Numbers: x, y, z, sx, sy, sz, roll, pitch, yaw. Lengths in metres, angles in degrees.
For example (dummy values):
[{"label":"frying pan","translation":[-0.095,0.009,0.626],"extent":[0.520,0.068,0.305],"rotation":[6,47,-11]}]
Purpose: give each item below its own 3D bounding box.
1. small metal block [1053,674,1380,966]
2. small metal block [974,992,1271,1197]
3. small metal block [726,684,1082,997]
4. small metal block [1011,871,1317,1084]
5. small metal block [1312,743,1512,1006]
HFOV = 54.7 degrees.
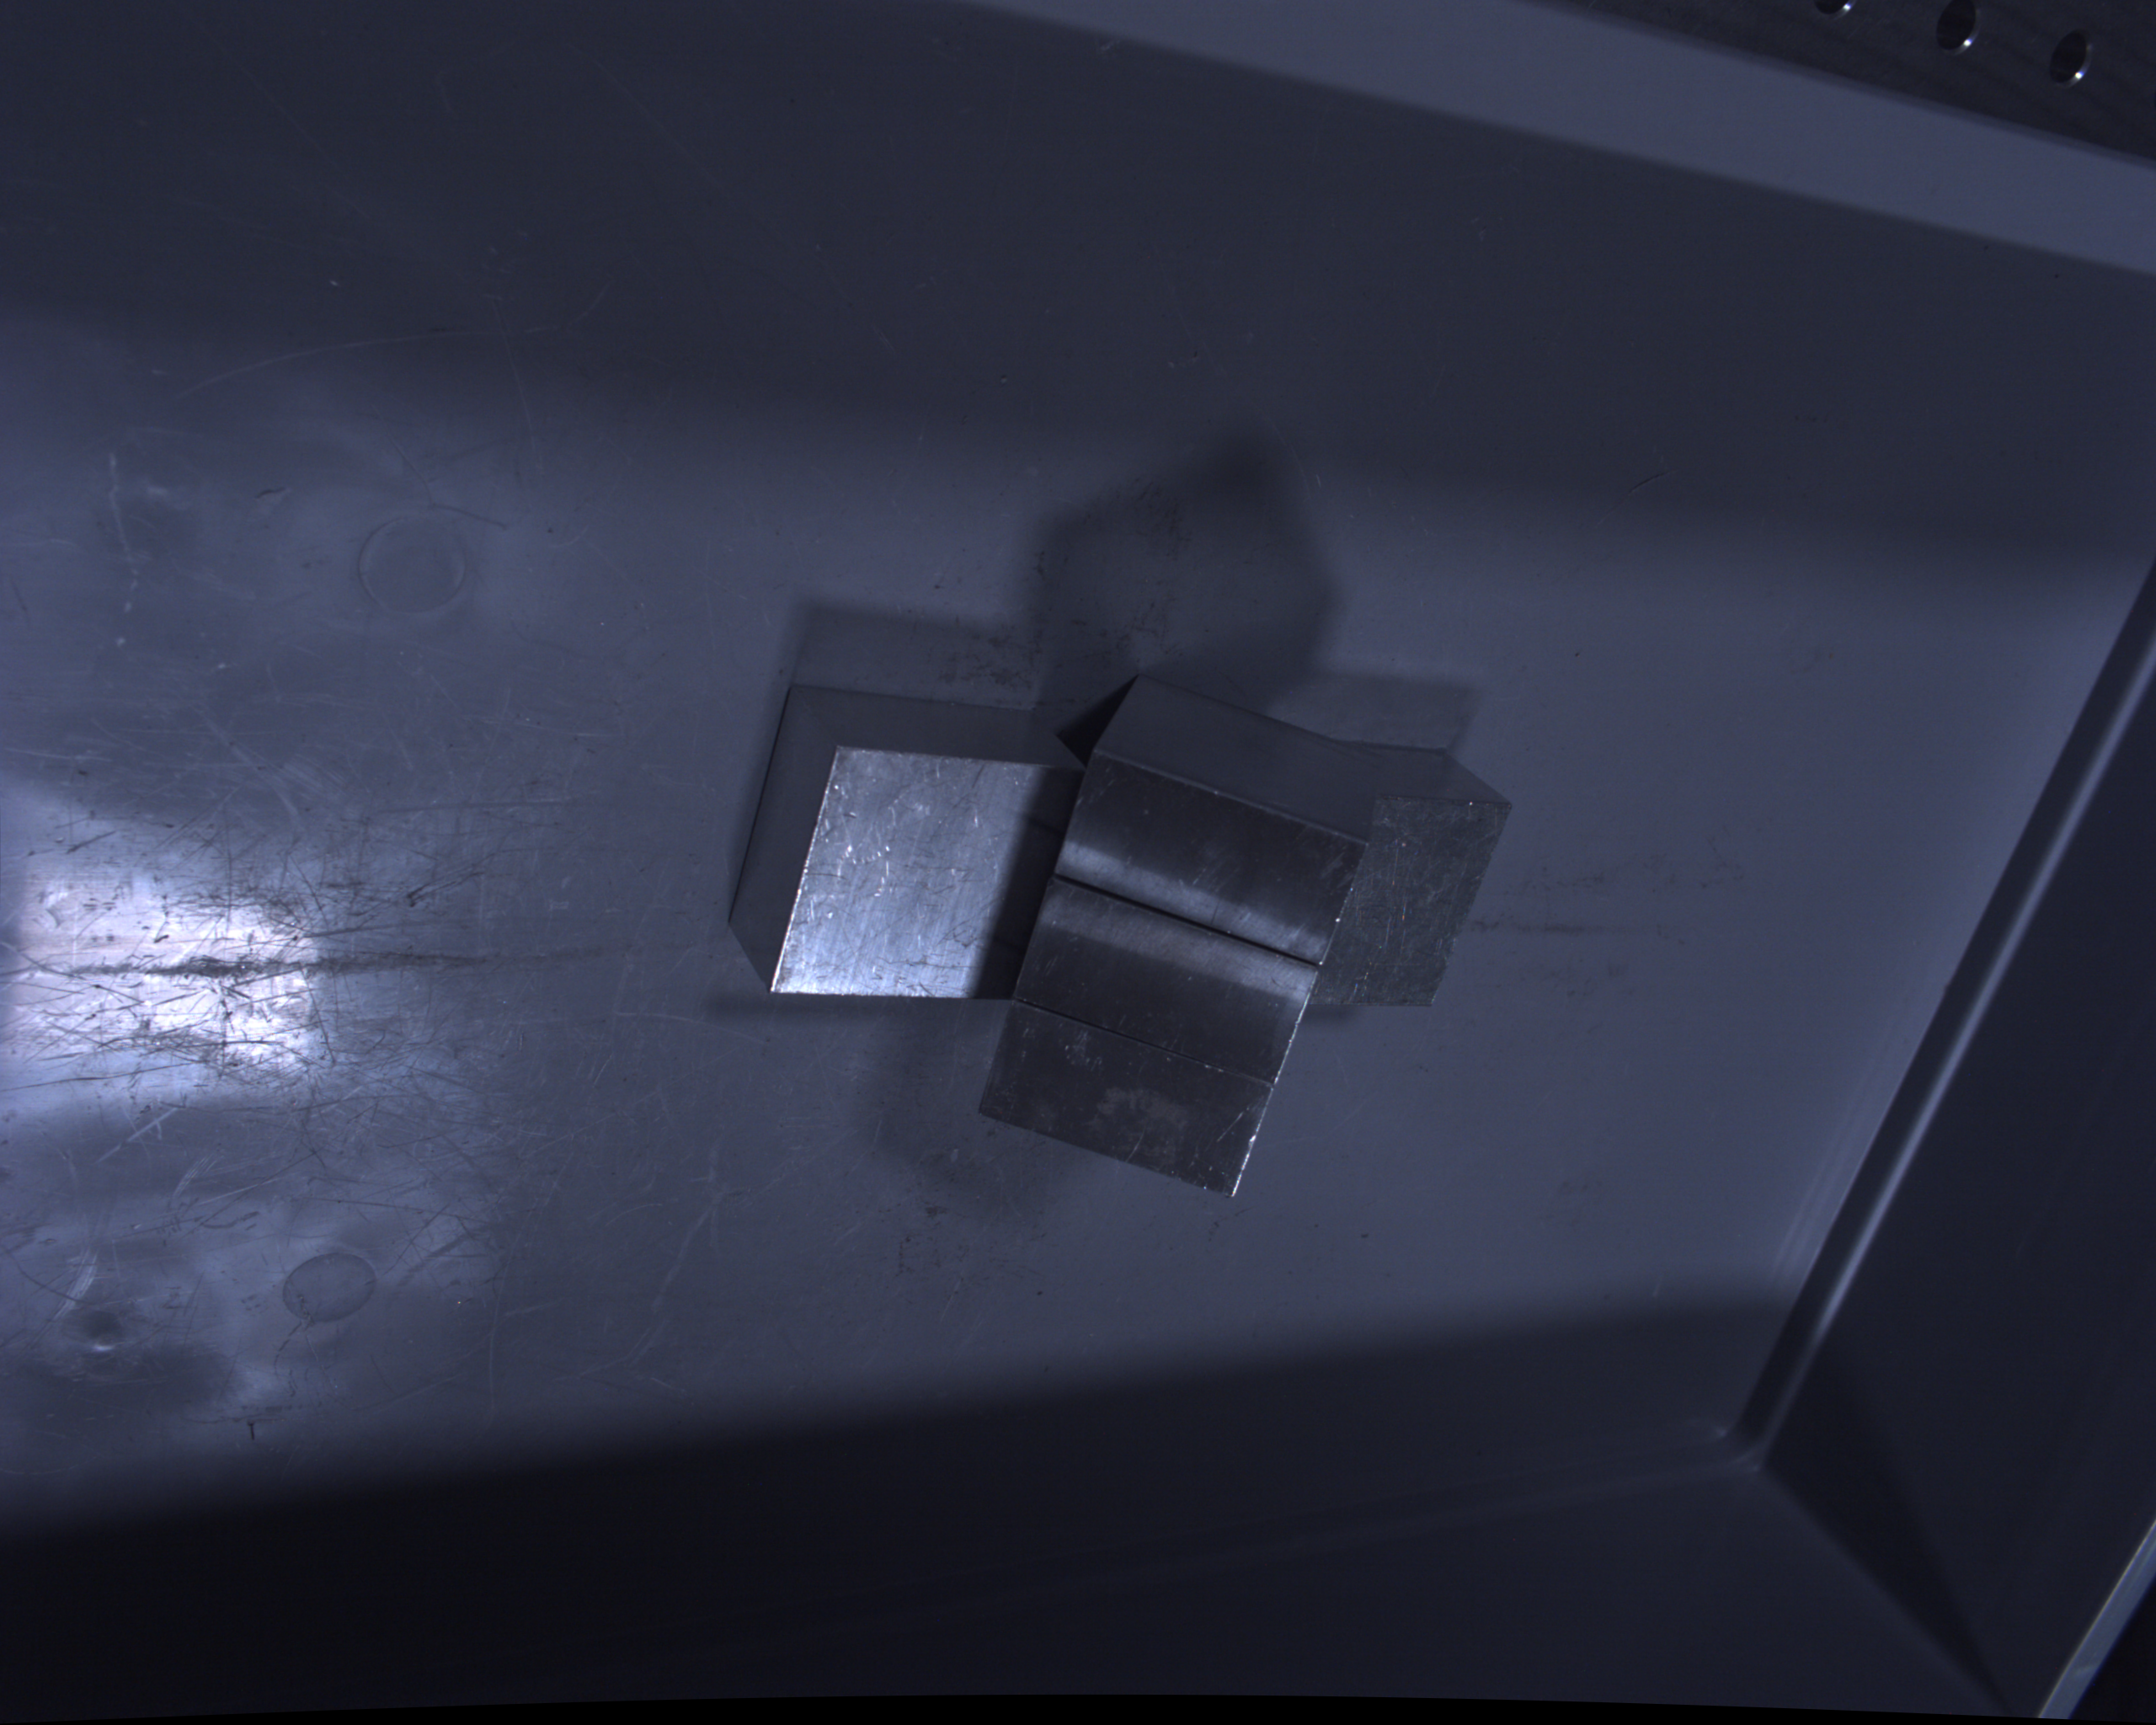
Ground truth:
[{"label":"small metal block","translation":[0.027,-0.009,0.388],"extent":[0.050,0.050,0.025],"rotation":[19,112,3]},{"label":"small metal block","translation":[0.012,0.035,0.407],"extent":[0.050,0.050,0.025],"rotation":[18,113,3]},{"label":"small metal block","translation":[-0.033,-0.003,0.388],"extent":[0.050,0.025,0.050],"rotation":[4,117,-31]},{"label":"small metal block","translation":[0.019,0.013,0.397],"extent":[0.050,0.050,0.025],"rotation":[18,113,3]},{"label":"small metal block","translation":[0.056,0.002,0.441],"extent":[0.050,0.025,0.050],"rotation":[3,117,-30]}]
